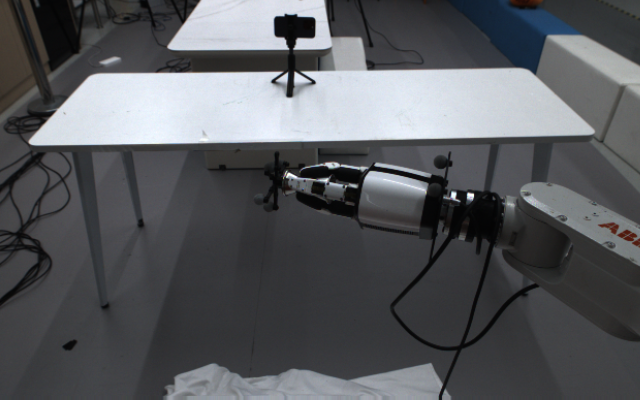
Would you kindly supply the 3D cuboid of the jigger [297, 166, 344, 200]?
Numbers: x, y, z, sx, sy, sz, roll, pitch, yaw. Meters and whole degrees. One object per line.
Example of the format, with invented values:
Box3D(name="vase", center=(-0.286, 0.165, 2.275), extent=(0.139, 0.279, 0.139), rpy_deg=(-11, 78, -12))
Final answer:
Box3D(name="jigger", center=(-0.010, -0.025, 0.694), extent=(0.071, 0.043, 0.043), rpy_deg=(8, 35, 16))
